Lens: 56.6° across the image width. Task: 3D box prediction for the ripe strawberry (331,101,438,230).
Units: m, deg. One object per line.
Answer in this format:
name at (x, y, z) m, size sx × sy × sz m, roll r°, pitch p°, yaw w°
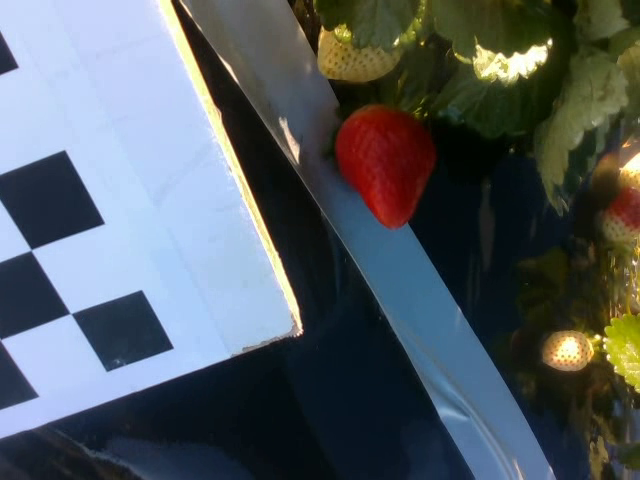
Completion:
ripe strawberry at (0.026, -0.029, 0.234) m, size 0.045 × 0.064 × 0.049 m, roll 4°, pitch -39°, yaw -4°
